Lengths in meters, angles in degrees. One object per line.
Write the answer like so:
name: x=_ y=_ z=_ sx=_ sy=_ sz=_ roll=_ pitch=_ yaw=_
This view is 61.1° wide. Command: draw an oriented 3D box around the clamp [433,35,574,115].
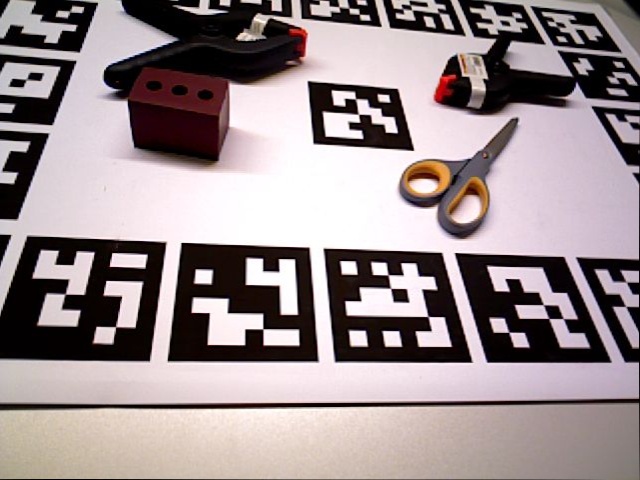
clamp: x=0.196 y=-0.183 z=0.614 sx=0.162 sy=0.037 sz=0.121 roll=-23 pitch=67 yaw=-24

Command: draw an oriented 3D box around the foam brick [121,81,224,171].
foam brick: x=-0.128 y=-0.100 z=0.480 sx=0.078 sy=0.052 sz=0.052 roll=6 pitch=53 yaw=-1

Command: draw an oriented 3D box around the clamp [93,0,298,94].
clamp: x=-0.123 y=-0.204 z=0.566 sx=0.200 sy=0.037 sz=0.163 roll=-1 pitch=50 yaw=-12

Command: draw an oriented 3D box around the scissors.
scissors: x=0.146 y=-0.068 z=0.522 sx=0.087 sy=0.016 sz=0.198 roll=38 pitch=54 yaw=8
